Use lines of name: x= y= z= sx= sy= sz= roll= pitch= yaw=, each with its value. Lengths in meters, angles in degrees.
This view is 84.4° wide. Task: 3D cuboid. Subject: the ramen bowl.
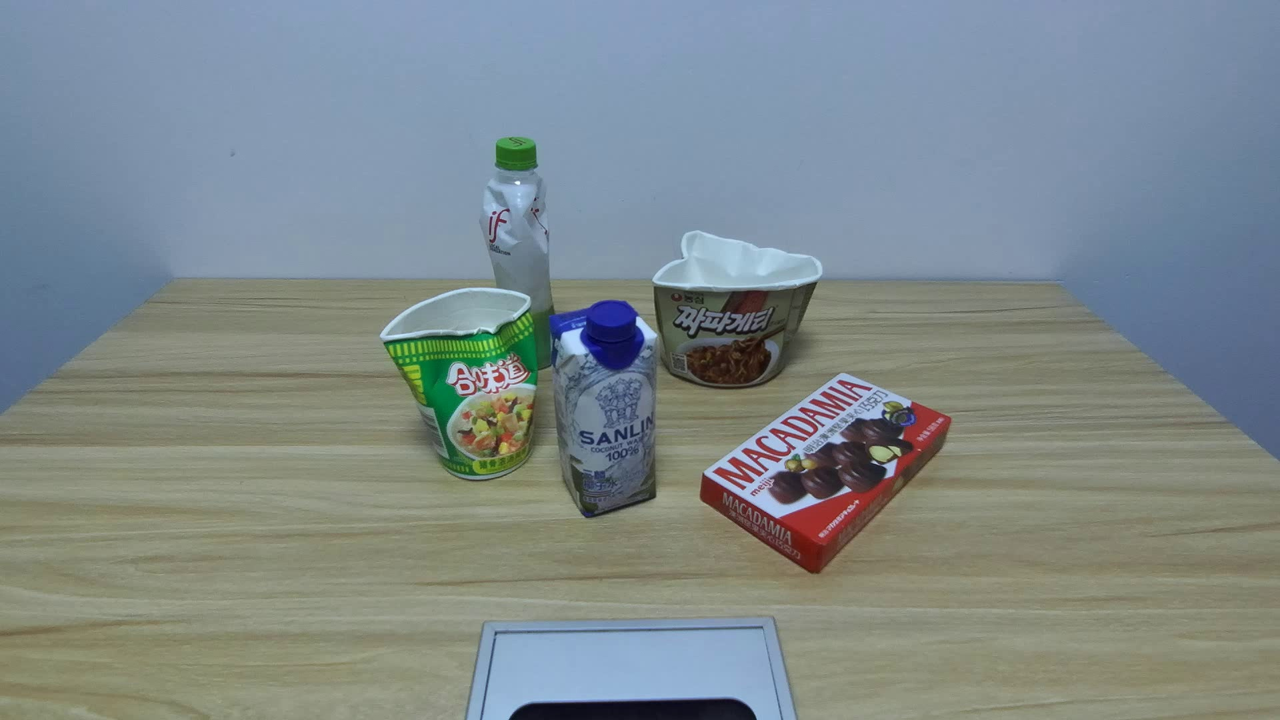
ramen bowl: x=0.084 y=-0.043 z=0.605 sx=0.133 sy=0.097 sz=0.113 roll=7 pitch=33 yaw=10

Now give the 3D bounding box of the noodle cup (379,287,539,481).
noodle cup: x=-0.112 y=0.017 z=0.495 sx=0.082 sy=0.122 sz=0.075 roll=-5 pitch=23 yaw=11

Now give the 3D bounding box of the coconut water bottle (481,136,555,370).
coconut water bottle: x=-0.097 y=-0.084 z=0.584 sx=0.067 sy=0.187 sz=0.067 roll=1 pitch=27 yaw=0

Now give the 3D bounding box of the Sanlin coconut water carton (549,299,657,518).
Sanlin coconut water carton: x=-0.021 y=0.026 z=0.448 sx=0.061 sy=0.144 sz=0.060 roll=-13 pitch=33 yaw=-20

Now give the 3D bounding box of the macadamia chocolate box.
macadamia chocolate box: x=0.135 y=0.069 z=0.497 sx=0.095 sy=0.027 sz=0.178 roll=28 pitch=41 yaw=37
